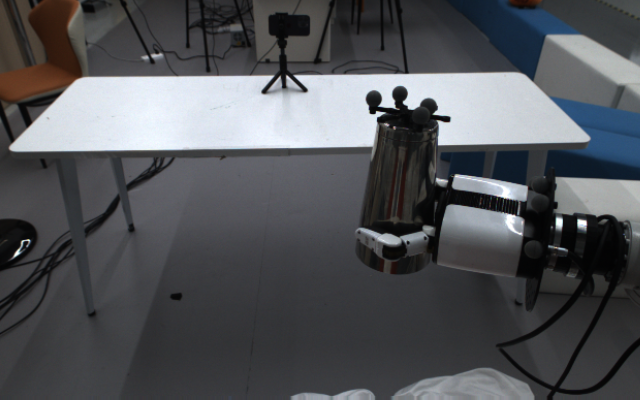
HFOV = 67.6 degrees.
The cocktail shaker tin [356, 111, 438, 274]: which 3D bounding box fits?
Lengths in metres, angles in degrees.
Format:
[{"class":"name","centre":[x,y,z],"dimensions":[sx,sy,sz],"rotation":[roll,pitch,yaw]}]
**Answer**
[{"class":"cocktail shaker tin","centre":[0.094,-0.010,0.562],"dimensions":[0.093,0.170,0.093],"rotation":[1,28,-1]}]
